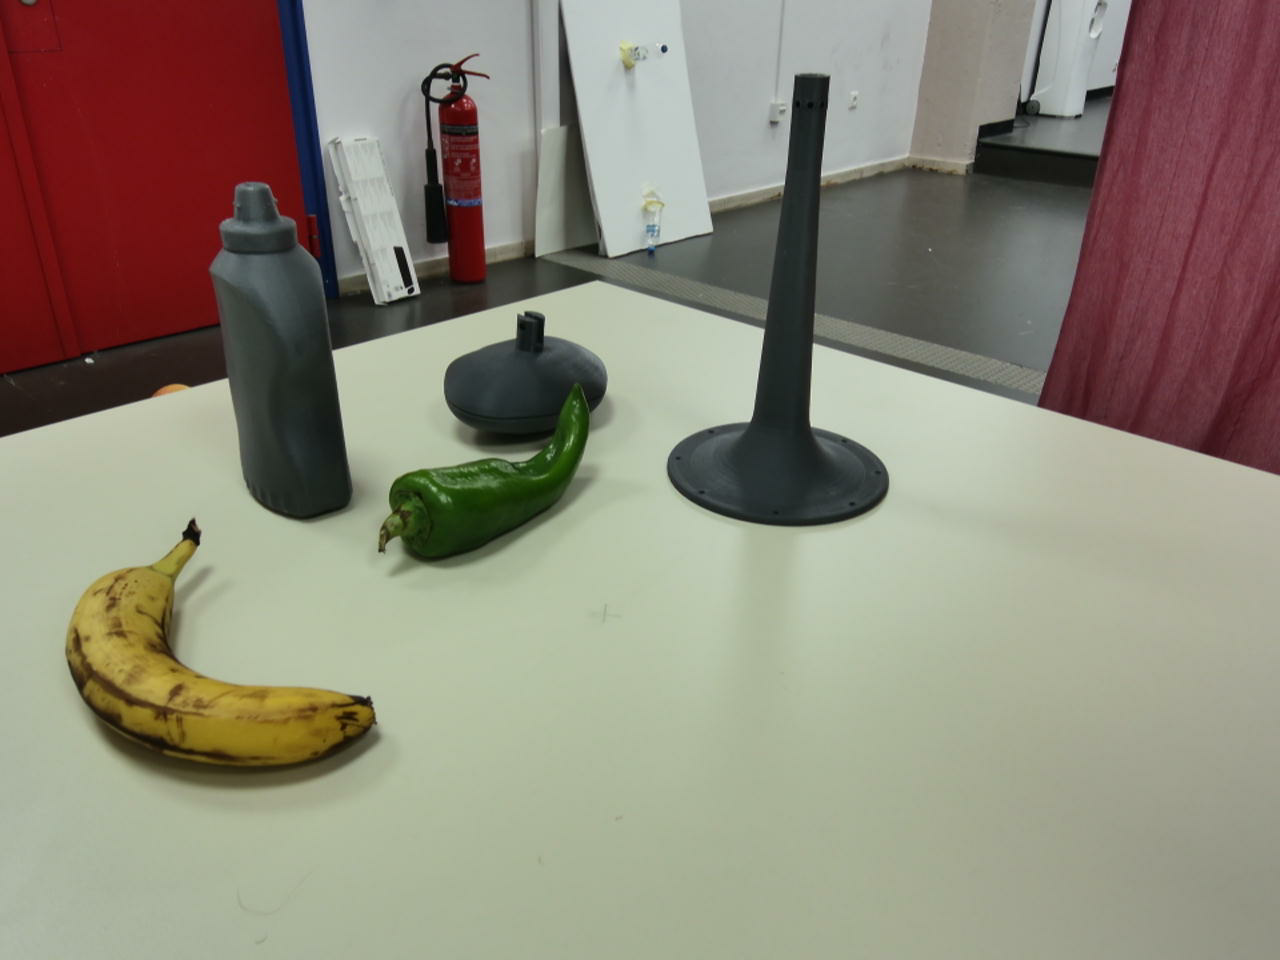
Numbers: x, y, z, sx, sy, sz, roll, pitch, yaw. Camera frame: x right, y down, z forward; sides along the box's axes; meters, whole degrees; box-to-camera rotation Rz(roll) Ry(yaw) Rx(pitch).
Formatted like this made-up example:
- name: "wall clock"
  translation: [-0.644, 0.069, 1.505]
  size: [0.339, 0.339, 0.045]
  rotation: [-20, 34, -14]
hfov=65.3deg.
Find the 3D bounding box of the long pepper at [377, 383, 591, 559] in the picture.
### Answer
- name: "long pepper"
  translation: [-0.086, -0.003, 0.595]
  size: [0.058, 0.065, 0.175]
  rotation: [21, 32, 35]
